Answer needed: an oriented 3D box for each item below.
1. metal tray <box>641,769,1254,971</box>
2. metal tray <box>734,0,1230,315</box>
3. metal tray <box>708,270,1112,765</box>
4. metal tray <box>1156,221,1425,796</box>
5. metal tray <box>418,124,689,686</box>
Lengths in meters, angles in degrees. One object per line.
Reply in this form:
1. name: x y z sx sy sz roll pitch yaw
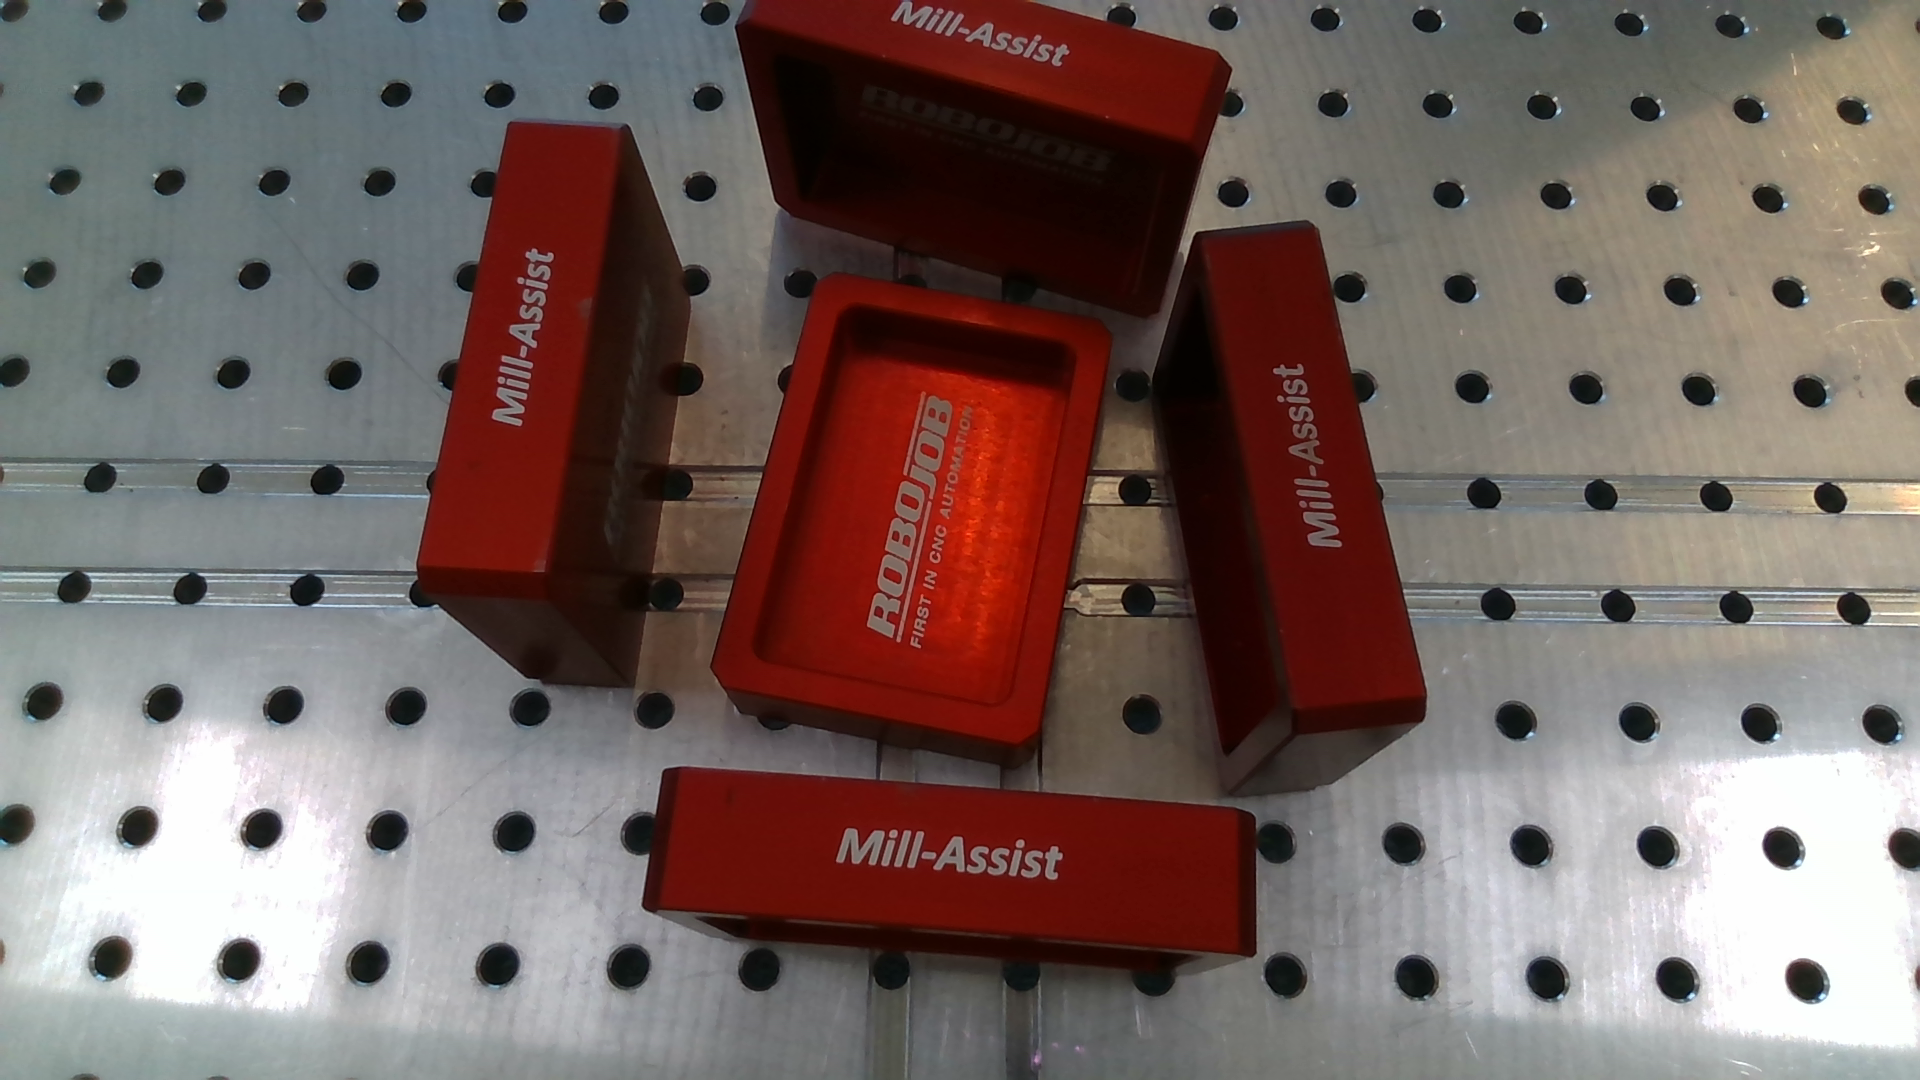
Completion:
1. metal tray: -0.002 0.083 0.334 0.130 0.090 0.030 4 70 1
2. metal tray: 0.005 -0.117 0.405 0.130 0.090 0.030 17 71 6
3. metal tray: -0.012 -0.008 0.397 0.090 0.030 0.130 11 71 4
4. metal tray: 0.081 -0.005 0.365 0.030 0.090 0.130 -6 70 -2
5. metal tray: -0.105 -0.034 0.376 0.030 0.090 0.130 3 70 1
